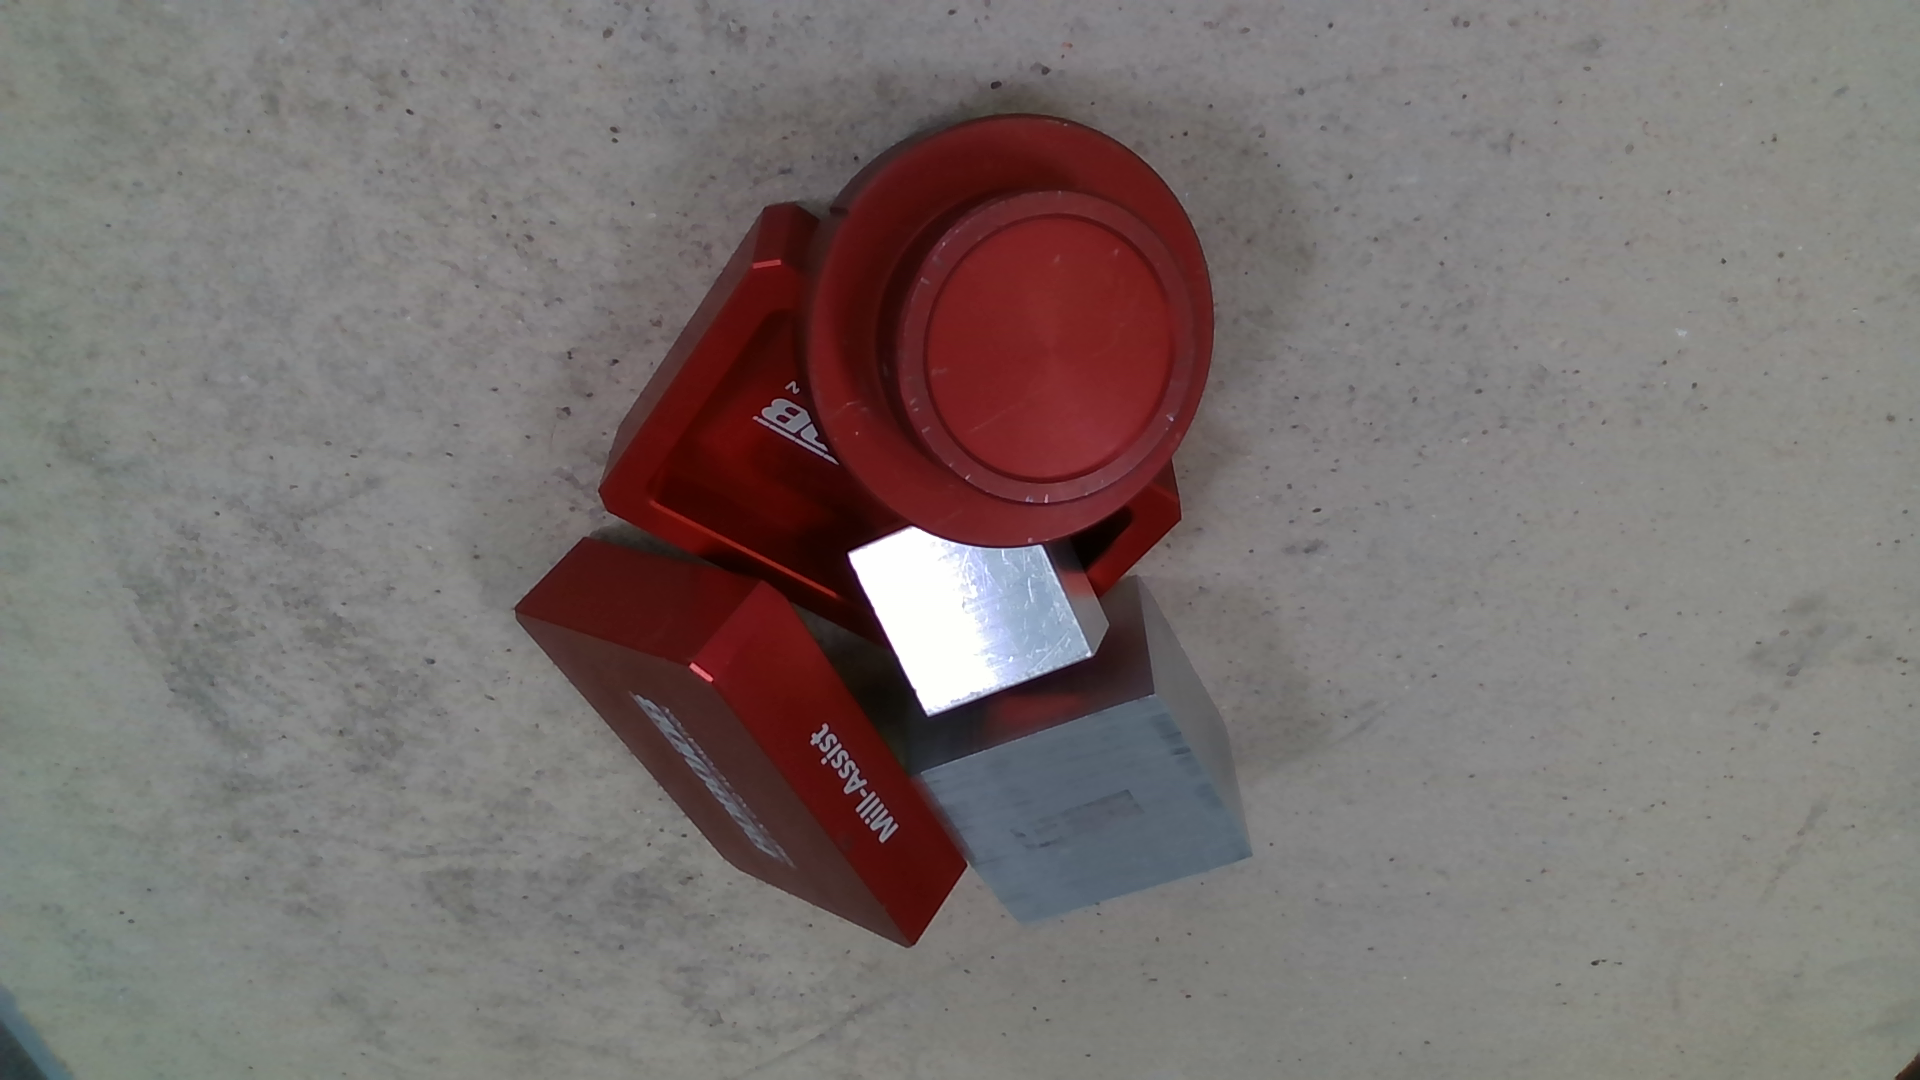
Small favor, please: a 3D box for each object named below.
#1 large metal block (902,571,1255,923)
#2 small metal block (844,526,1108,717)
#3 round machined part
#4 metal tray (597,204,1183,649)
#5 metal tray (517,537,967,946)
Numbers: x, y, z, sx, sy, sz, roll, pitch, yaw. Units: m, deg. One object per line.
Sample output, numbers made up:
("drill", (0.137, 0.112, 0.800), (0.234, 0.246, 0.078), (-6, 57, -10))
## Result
("large metal block", (0.037, 0.067, 0.429), (0.080, 0.050, 0.080), (-21, 127, 17))
("small metal block", (0.005, 0.013, 0.370), (0.050, 0.025, 0.050), (-23, 99, 21))
("round machined part", (0.014, -0.045, 0.312), (0.098, 0.042, 0.098), (-4, 106, -16))
("metal tray", (-0.018, -0.018, 0.369), (0.130, 0.030, 0.090), (28, 125, -22))
("metal tray", (-0.062, 0.060, 0.407), (0.090, 0.030, 0.130), (10, 141, 41))
